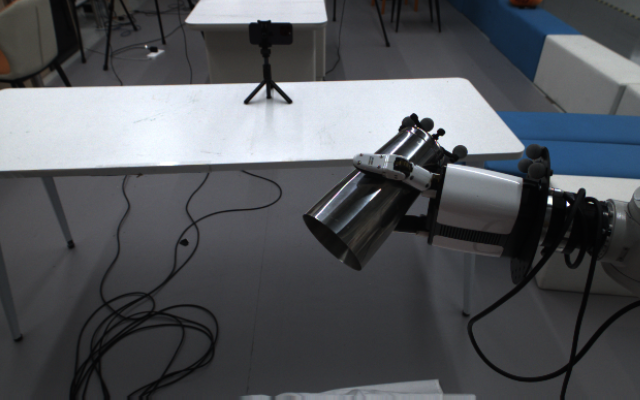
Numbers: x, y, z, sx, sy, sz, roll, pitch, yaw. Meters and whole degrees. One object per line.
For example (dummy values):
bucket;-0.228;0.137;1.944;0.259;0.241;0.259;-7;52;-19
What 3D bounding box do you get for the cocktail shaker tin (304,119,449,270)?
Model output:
cocktail shaker tin;0.071;-0.013;0.579;0.170;0.093;0.093;-43;51;-15
